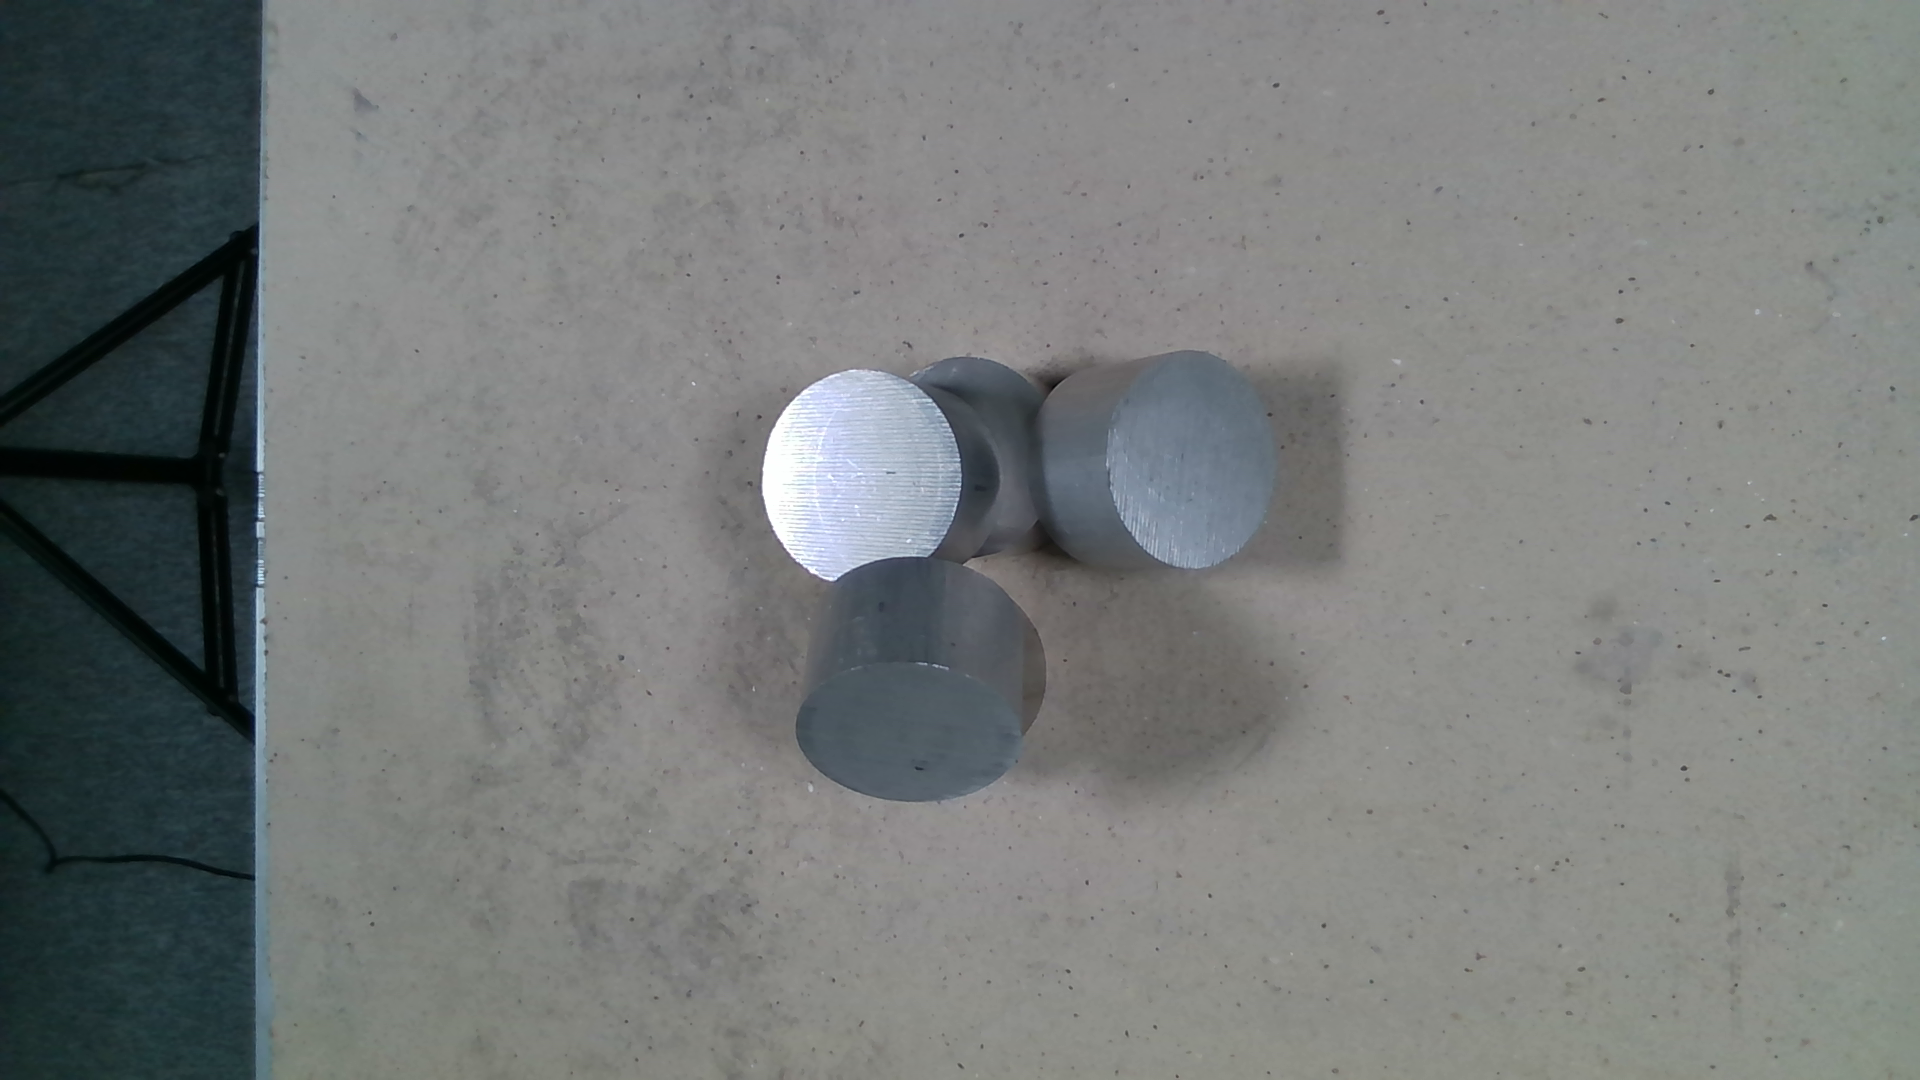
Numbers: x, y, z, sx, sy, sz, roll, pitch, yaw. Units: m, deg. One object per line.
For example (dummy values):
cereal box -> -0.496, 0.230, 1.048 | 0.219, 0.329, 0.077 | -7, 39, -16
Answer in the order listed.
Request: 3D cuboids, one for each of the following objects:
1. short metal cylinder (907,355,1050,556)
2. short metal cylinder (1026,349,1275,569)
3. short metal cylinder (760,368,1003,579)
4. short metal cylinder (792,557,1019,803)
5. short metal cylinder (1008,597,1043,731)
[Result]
short metal cylinder -> 0.009, -0.033, 0.569 | 0.080, 0.050, 0.080 | 0, 90, 20
short metal cylinder -> 0.072, -0.029, 0.523 | 0.050, 0.080, 0.080 | 0, 91, 59
short metal cylinder -> -0.029, -0.023, 0.529 | 0.080, 0.050, 0.080 | 0, 90, 20
short metal cylinder -> -0.018, 0.052, 0.503 | 0.080, 0.080, 0.050 | -18, 41, 19
short metal cylinder -> -0.010, 0.057, 0.576 | 0.080, 0.050, 0.080 | 0, 90, 20
